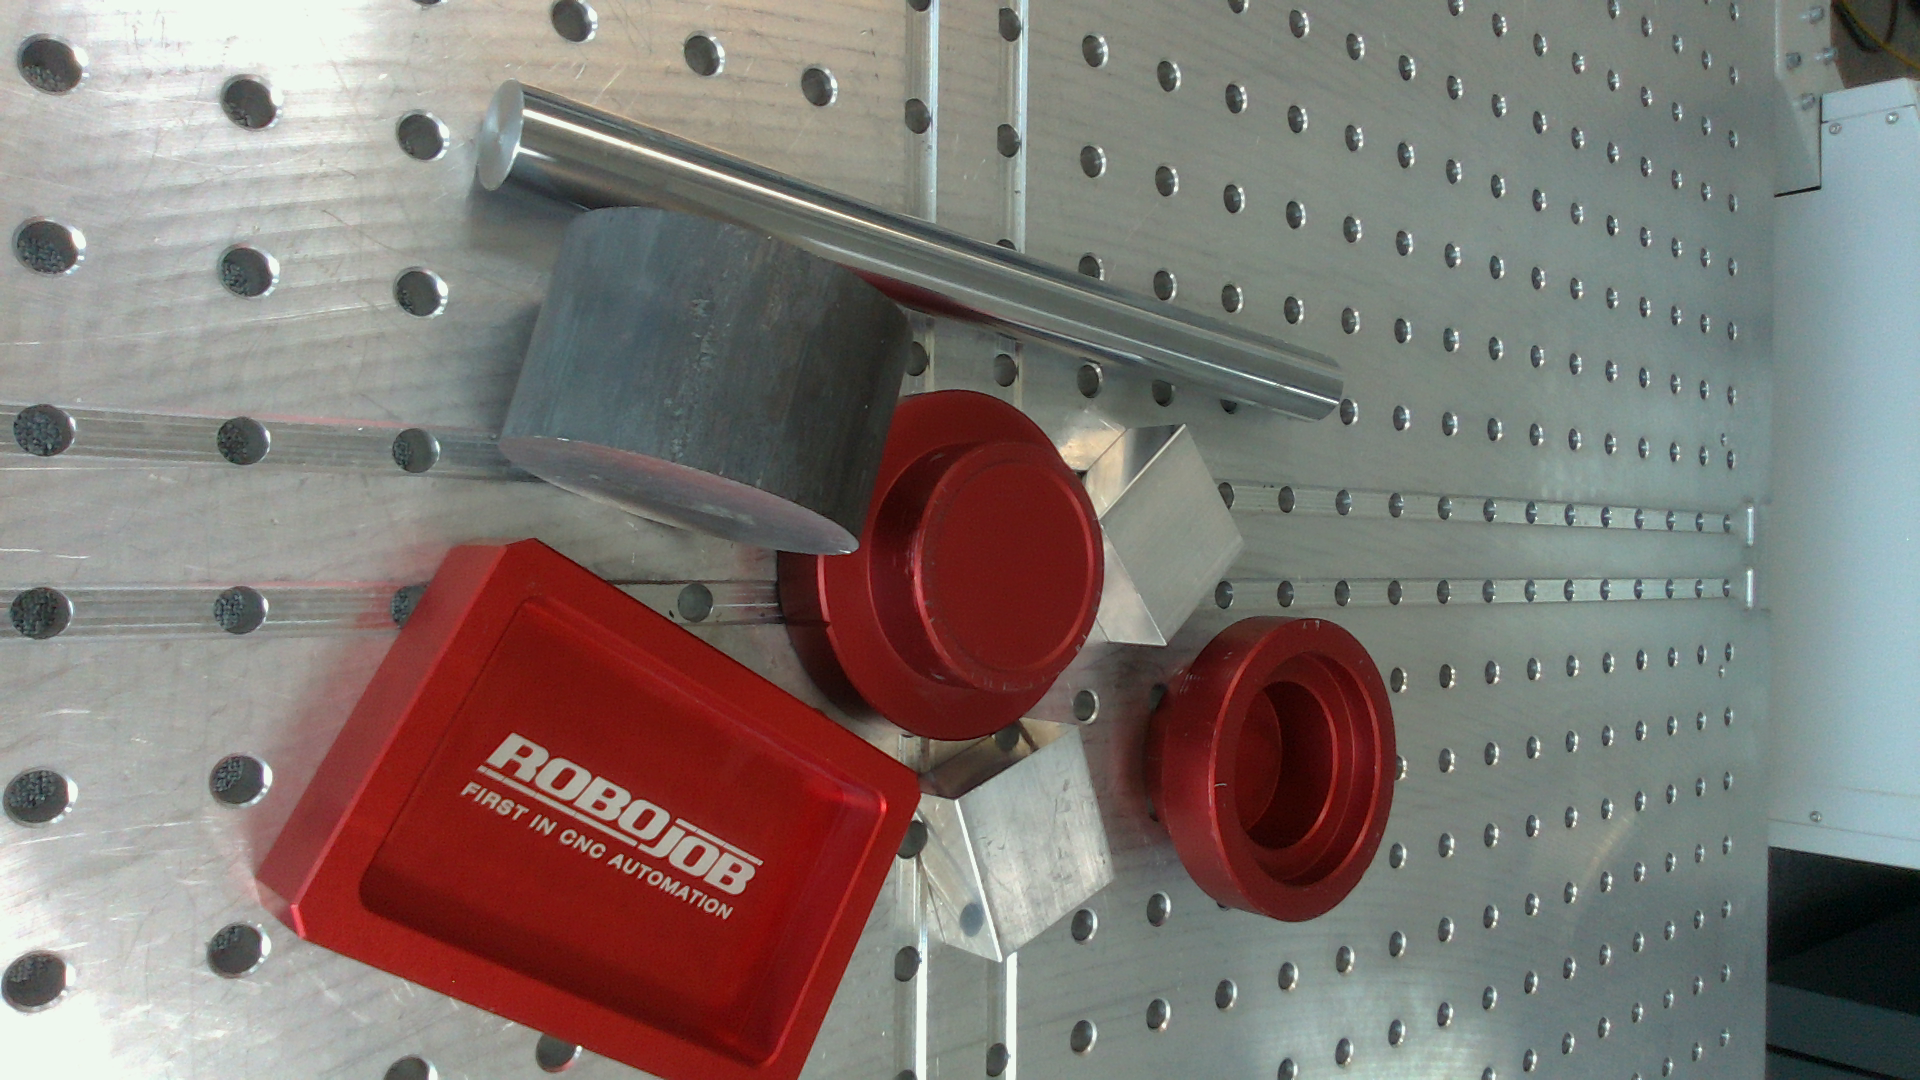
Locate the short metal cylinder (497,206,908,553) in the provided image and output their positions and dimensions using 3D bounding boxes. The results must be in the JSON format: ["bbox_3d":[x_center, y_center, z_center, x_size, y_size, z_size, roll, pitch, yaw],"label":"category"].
[{"bbox_3d":[-0.056,-0.033,0.309,0.080,0.080,0.050,22,76,-38],"label":"short metal cylinder"}]

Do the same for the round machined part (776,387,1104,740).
[{"bbox_3d":[0.002,0.006,0.382,0.098,0.042,0.098,3,85,-40],"label":"round machined part"}]

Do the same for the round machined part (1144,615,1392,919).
[{"bbox_3d":[0.100,0.074,0.464,0.098,0.042,0.098,0,90,-40],"label":"round machined part"}]

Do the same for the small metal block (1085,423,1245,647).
[{"bbox_3d":[0.059,-0.002,0.442,0.050,0.025,0.050,-46,117,-30],"label":"small metal block"}]

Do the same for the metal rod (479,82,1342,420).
[{"bbox_3d":[0.013,-0.072,0.402,0.301,0.025,0.025,9,85,-40],"label":"metal rod"}]

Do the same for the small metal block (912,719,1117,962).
[{"bbox_3d":[0.015,0.086,0.404,0.050,0.025,0.050,-24,105,-37],"label":"small metal block"}]

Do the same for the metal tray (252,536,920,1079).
[{"bbox_3d":[-0.079,0.069,0.323,0.130,0.030,0.090,38,67,-33],"label":"metal tray"}]
